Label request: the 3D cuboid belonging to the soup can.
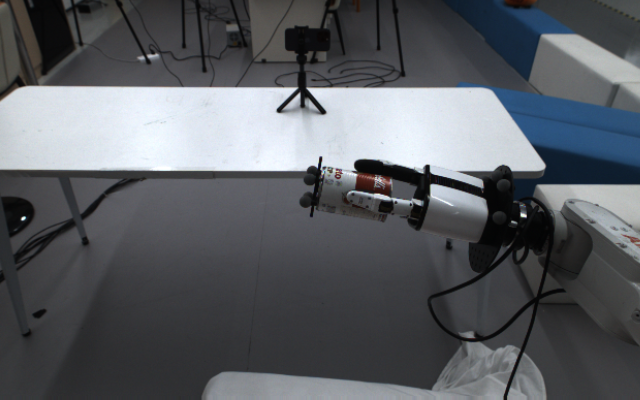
[{"bbox_3d":[0.051,-0.009,0.705,0.101,0.067,0.067,9,35,0],"label":"soup can"}]
